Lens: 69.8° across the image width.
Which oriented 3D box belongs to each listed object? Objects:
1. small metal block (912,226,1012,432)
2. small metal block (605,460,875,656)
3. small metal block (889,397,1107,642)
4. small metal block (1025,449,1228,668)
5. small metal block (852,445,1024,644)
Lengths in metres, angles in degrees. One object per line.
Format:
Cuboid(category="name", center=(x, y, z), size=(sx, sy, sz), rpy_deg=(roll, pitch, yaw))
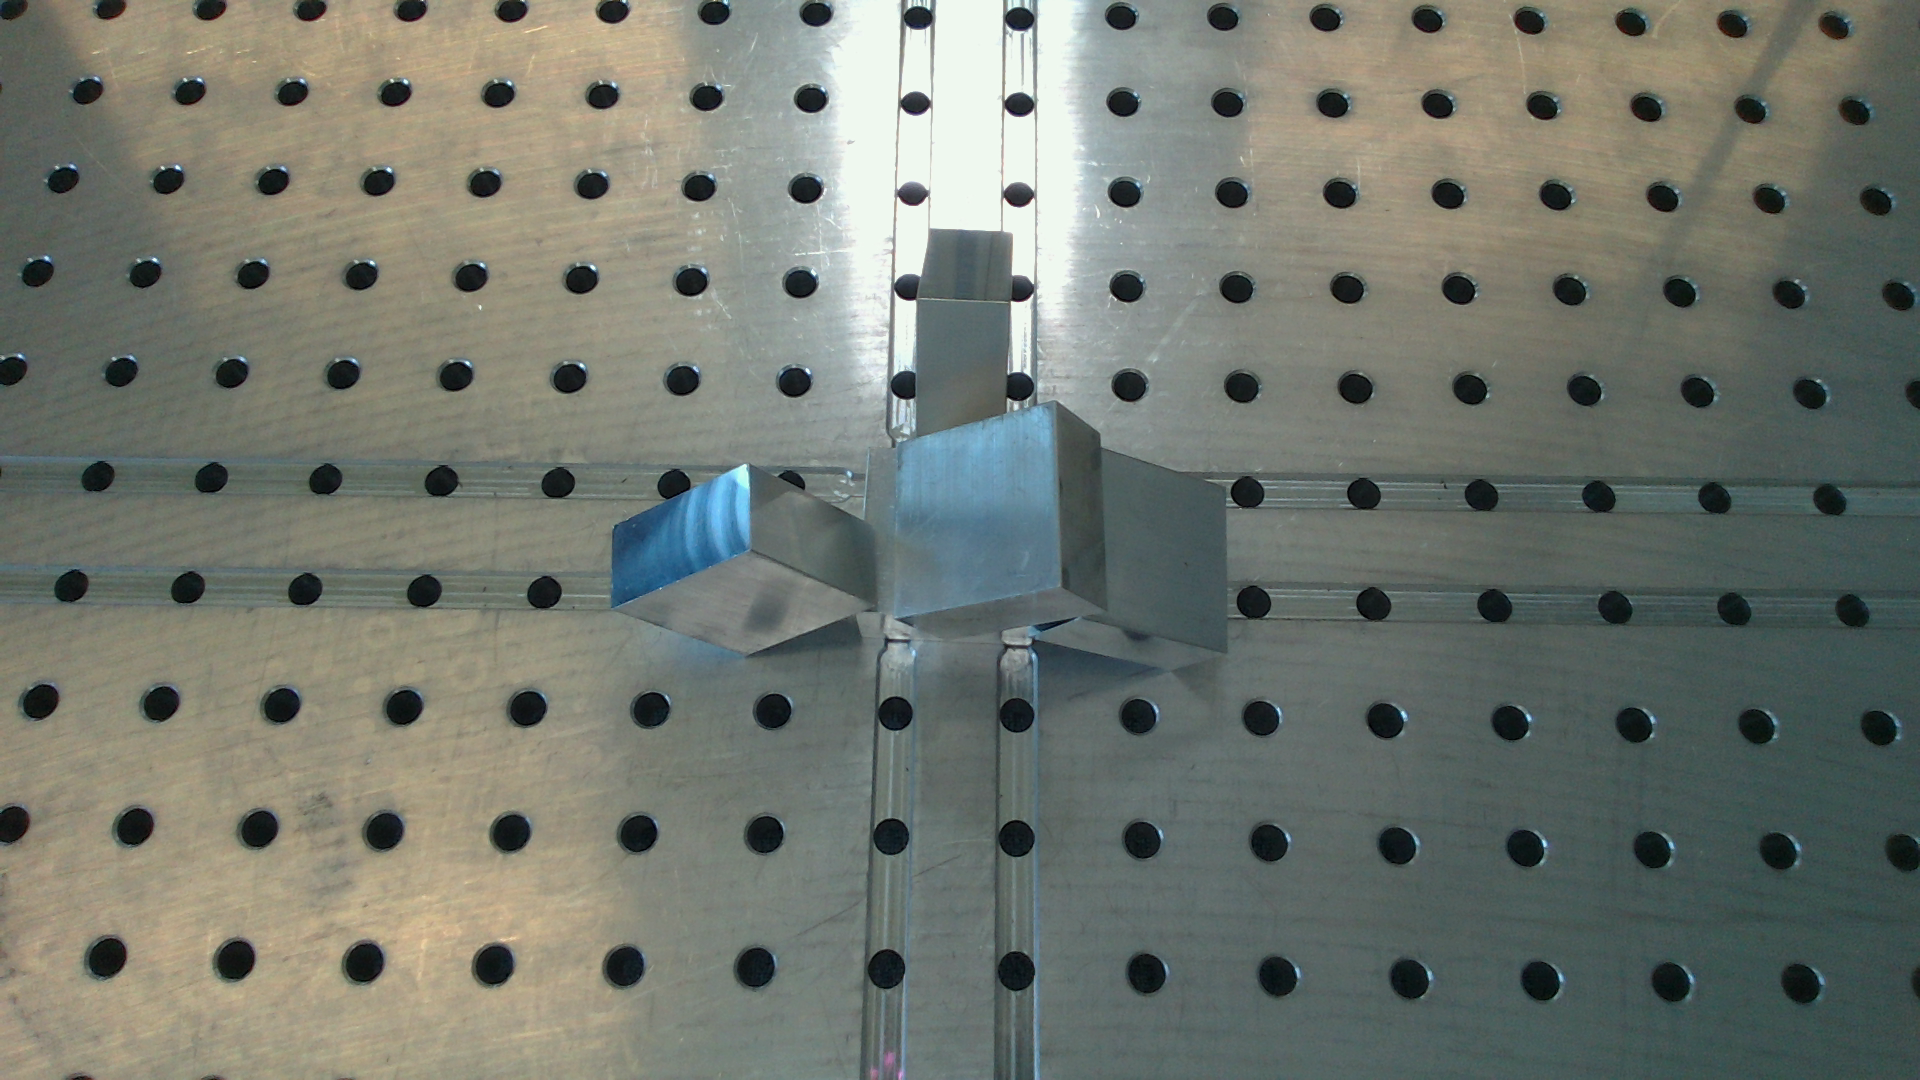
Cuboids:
Cuboid(category="small metal block", center=(0.001, -0.056, 0.394), size=(0.025, 0.050, 0.050), rpy_deg=(3, 34, 2))
Cuboid(category="small metal block", center=(-0.059, 0.007, 0.370), size=(0.050, 0.050, 0.025), rpy_deg=(-21, 60, 29))
Cuboid(category="small metal block", center=(0.009, -0.004, 0.360), size=(0.050, 0.025, 0.050), rpy_deg=(-13, 66, 31))
Cuboid(category="small metal block", center=(0.047, 0.006, 0.383), size=(0.050, 0.025, 0.050), rpy_deg=(14, 67, -28))
Cuboid(category="small metal block", center=(-0.004, 0.002, 0.397), size=(0.050, 0.025, 0.050), rpy_deg=(2, 70, 1))
